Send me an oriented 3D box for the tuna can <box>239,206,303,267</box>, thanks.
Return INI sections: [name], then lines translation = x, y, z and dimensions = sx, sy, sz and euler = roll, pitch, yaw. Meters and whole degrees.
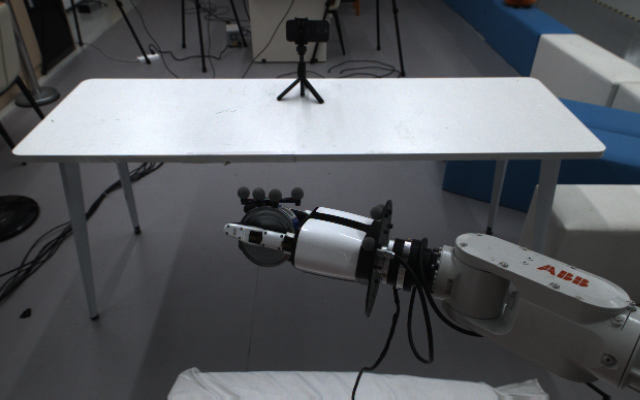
[tuna can]
translation = -0.067, 0.050, 0.677
dimensions = 0.085, 0.085, 0.034
euler = 12, 8, 14
